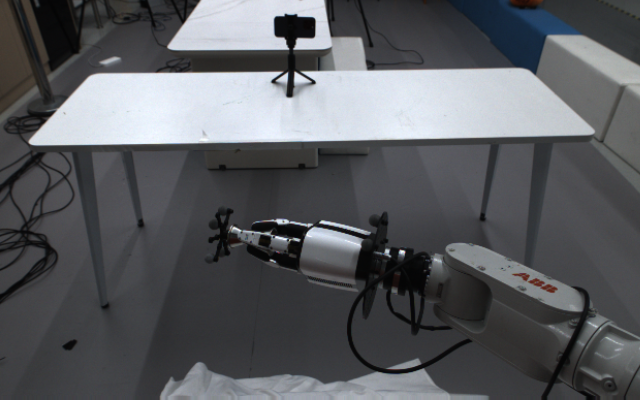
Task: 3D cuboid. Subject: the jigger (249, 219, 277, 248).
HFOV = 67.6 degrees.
[{"bbox_3d":[-0.099,0.057,0.753,0.071,0.043,0.043,7,35,14],"label":"jigger"}]
